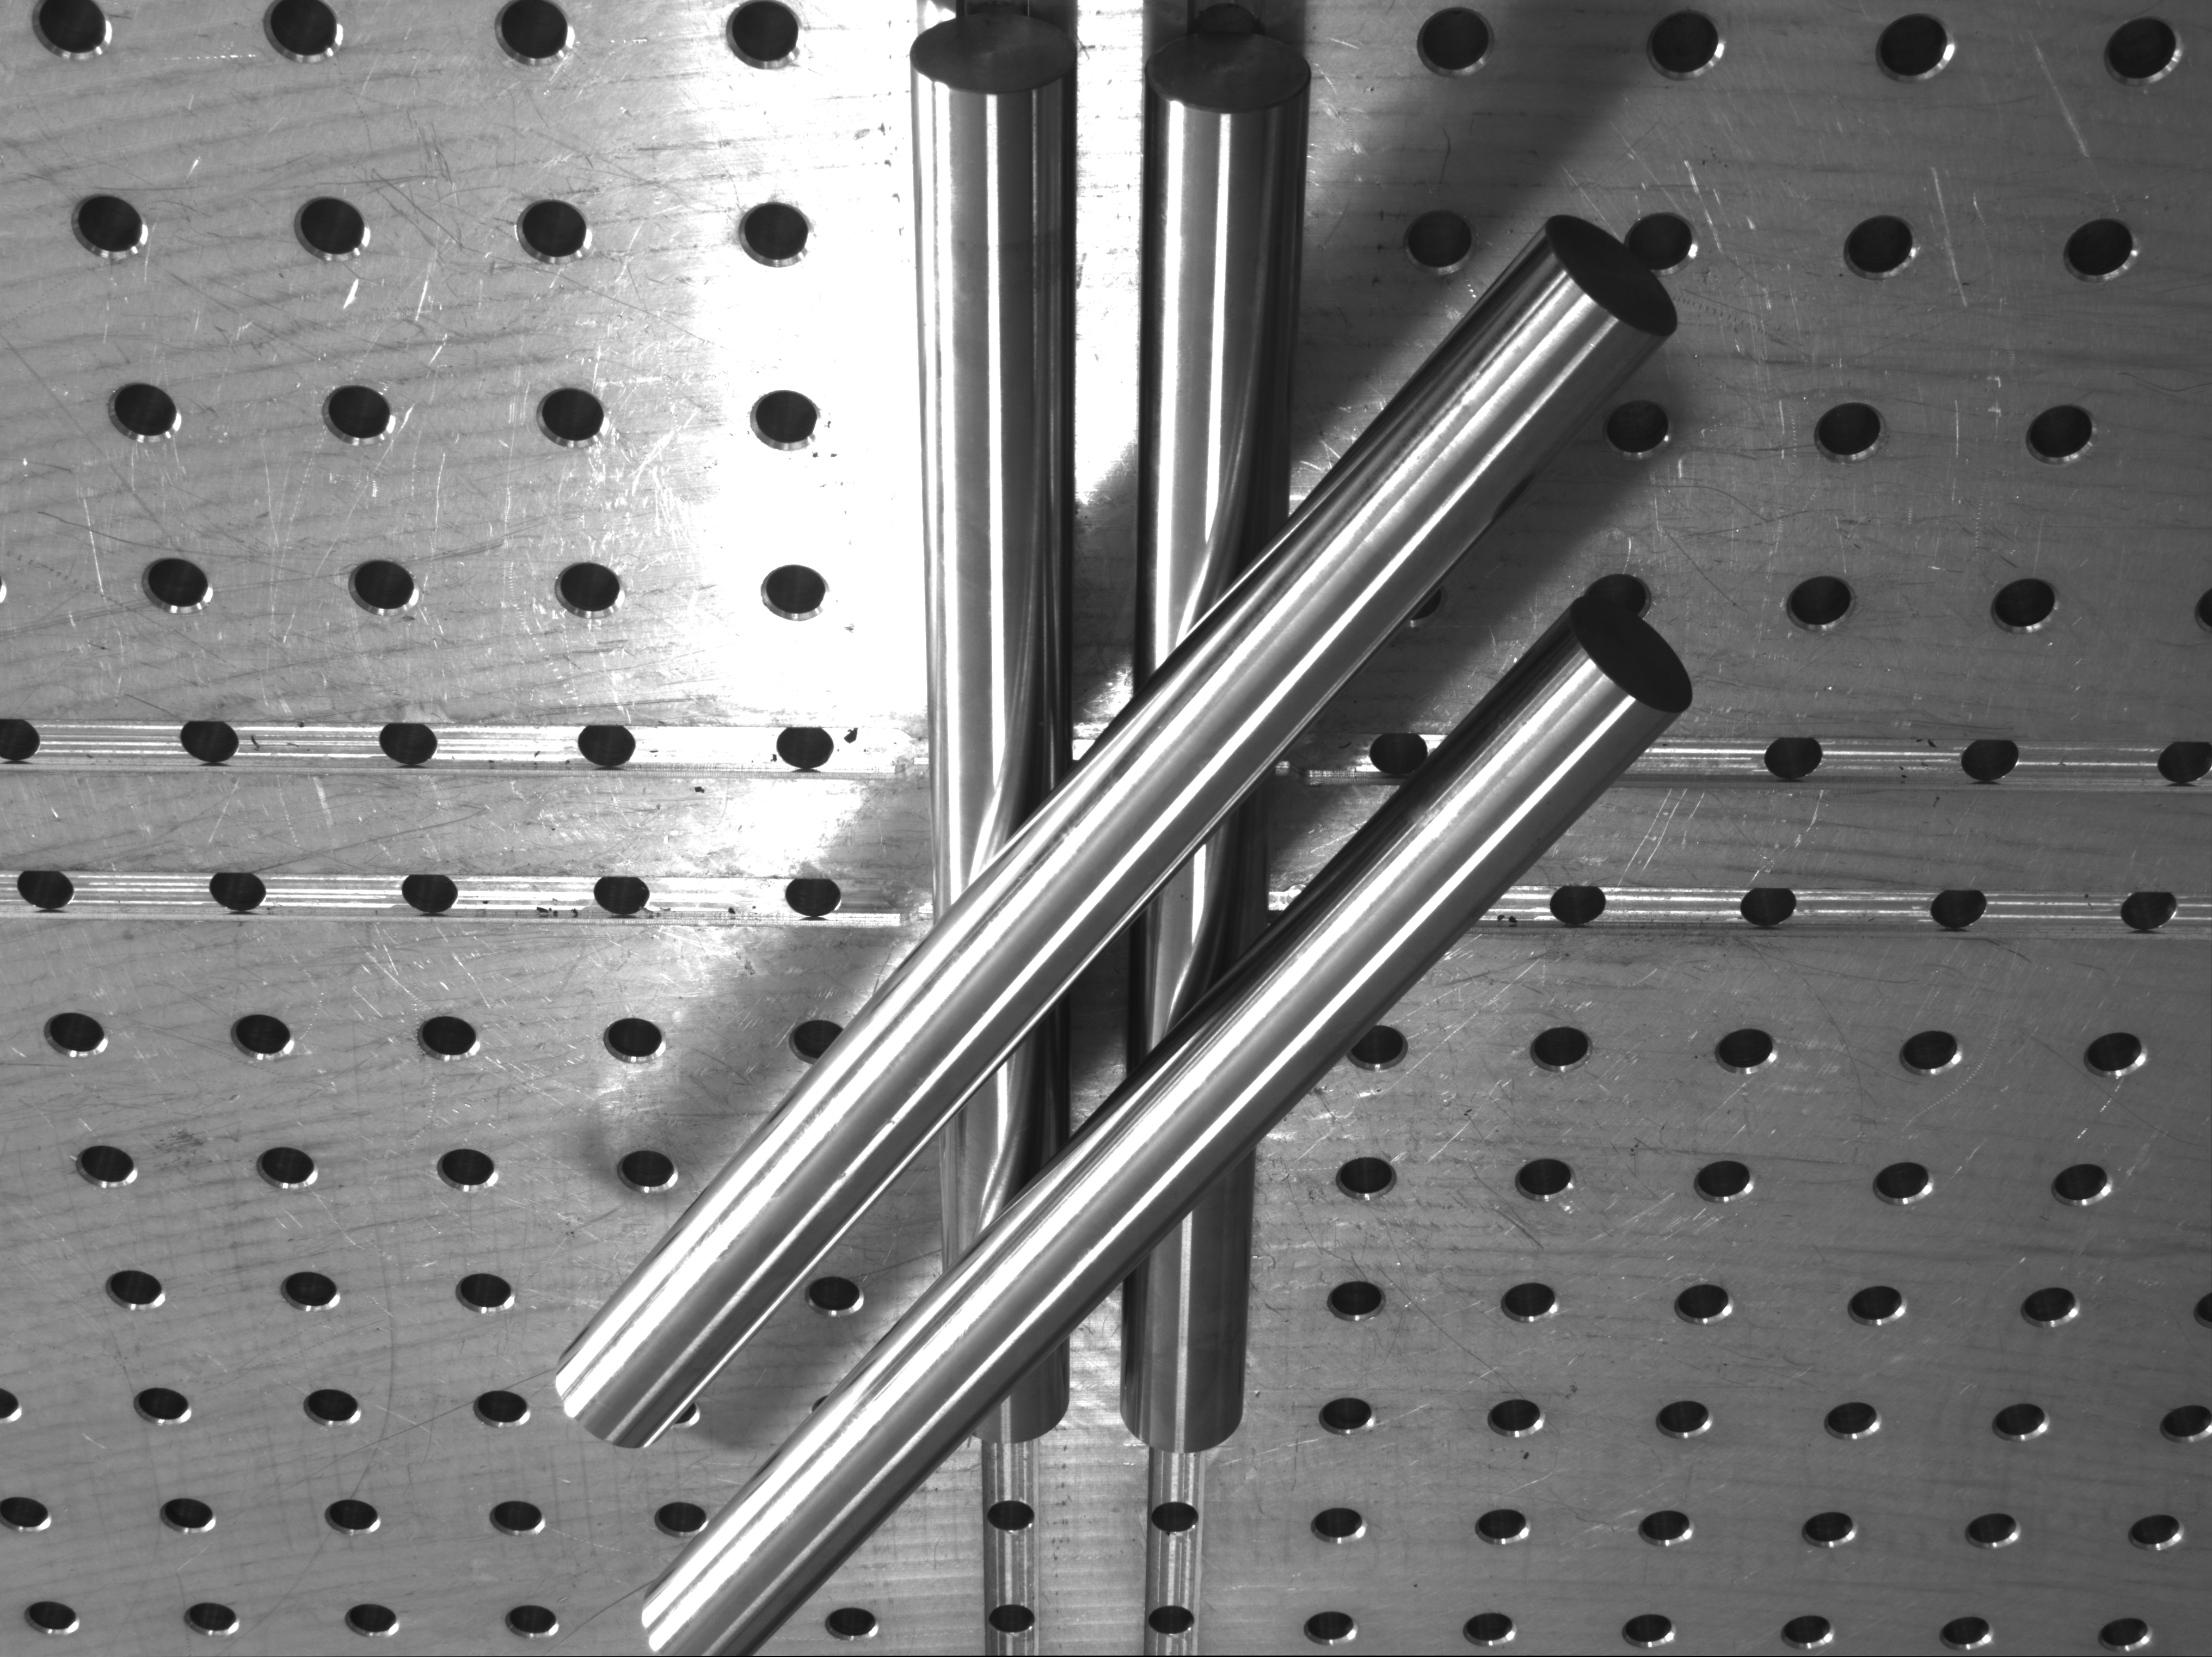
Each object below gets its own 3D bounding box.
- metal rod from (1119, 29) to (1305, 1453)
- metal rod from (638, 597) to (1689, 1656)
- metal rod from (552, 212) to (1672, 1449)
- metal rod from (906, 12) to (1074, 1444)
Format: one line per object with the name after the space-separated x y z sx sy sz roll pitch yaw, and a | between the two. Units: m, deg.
0.016 0.001 0.645 0.025 0.025 0.300 0 130 0 | metal rod
0.000 0.068 0.667 0.025 0.025 0.300 27 125 -21 | metal rod
-0.010 0.013 0.622 0.025 0.025 0.300 28 125 -21 | metal rod
-0.019 -0.001 0.643 0.025 0.025 0.300 0 130 0 | metal rod
